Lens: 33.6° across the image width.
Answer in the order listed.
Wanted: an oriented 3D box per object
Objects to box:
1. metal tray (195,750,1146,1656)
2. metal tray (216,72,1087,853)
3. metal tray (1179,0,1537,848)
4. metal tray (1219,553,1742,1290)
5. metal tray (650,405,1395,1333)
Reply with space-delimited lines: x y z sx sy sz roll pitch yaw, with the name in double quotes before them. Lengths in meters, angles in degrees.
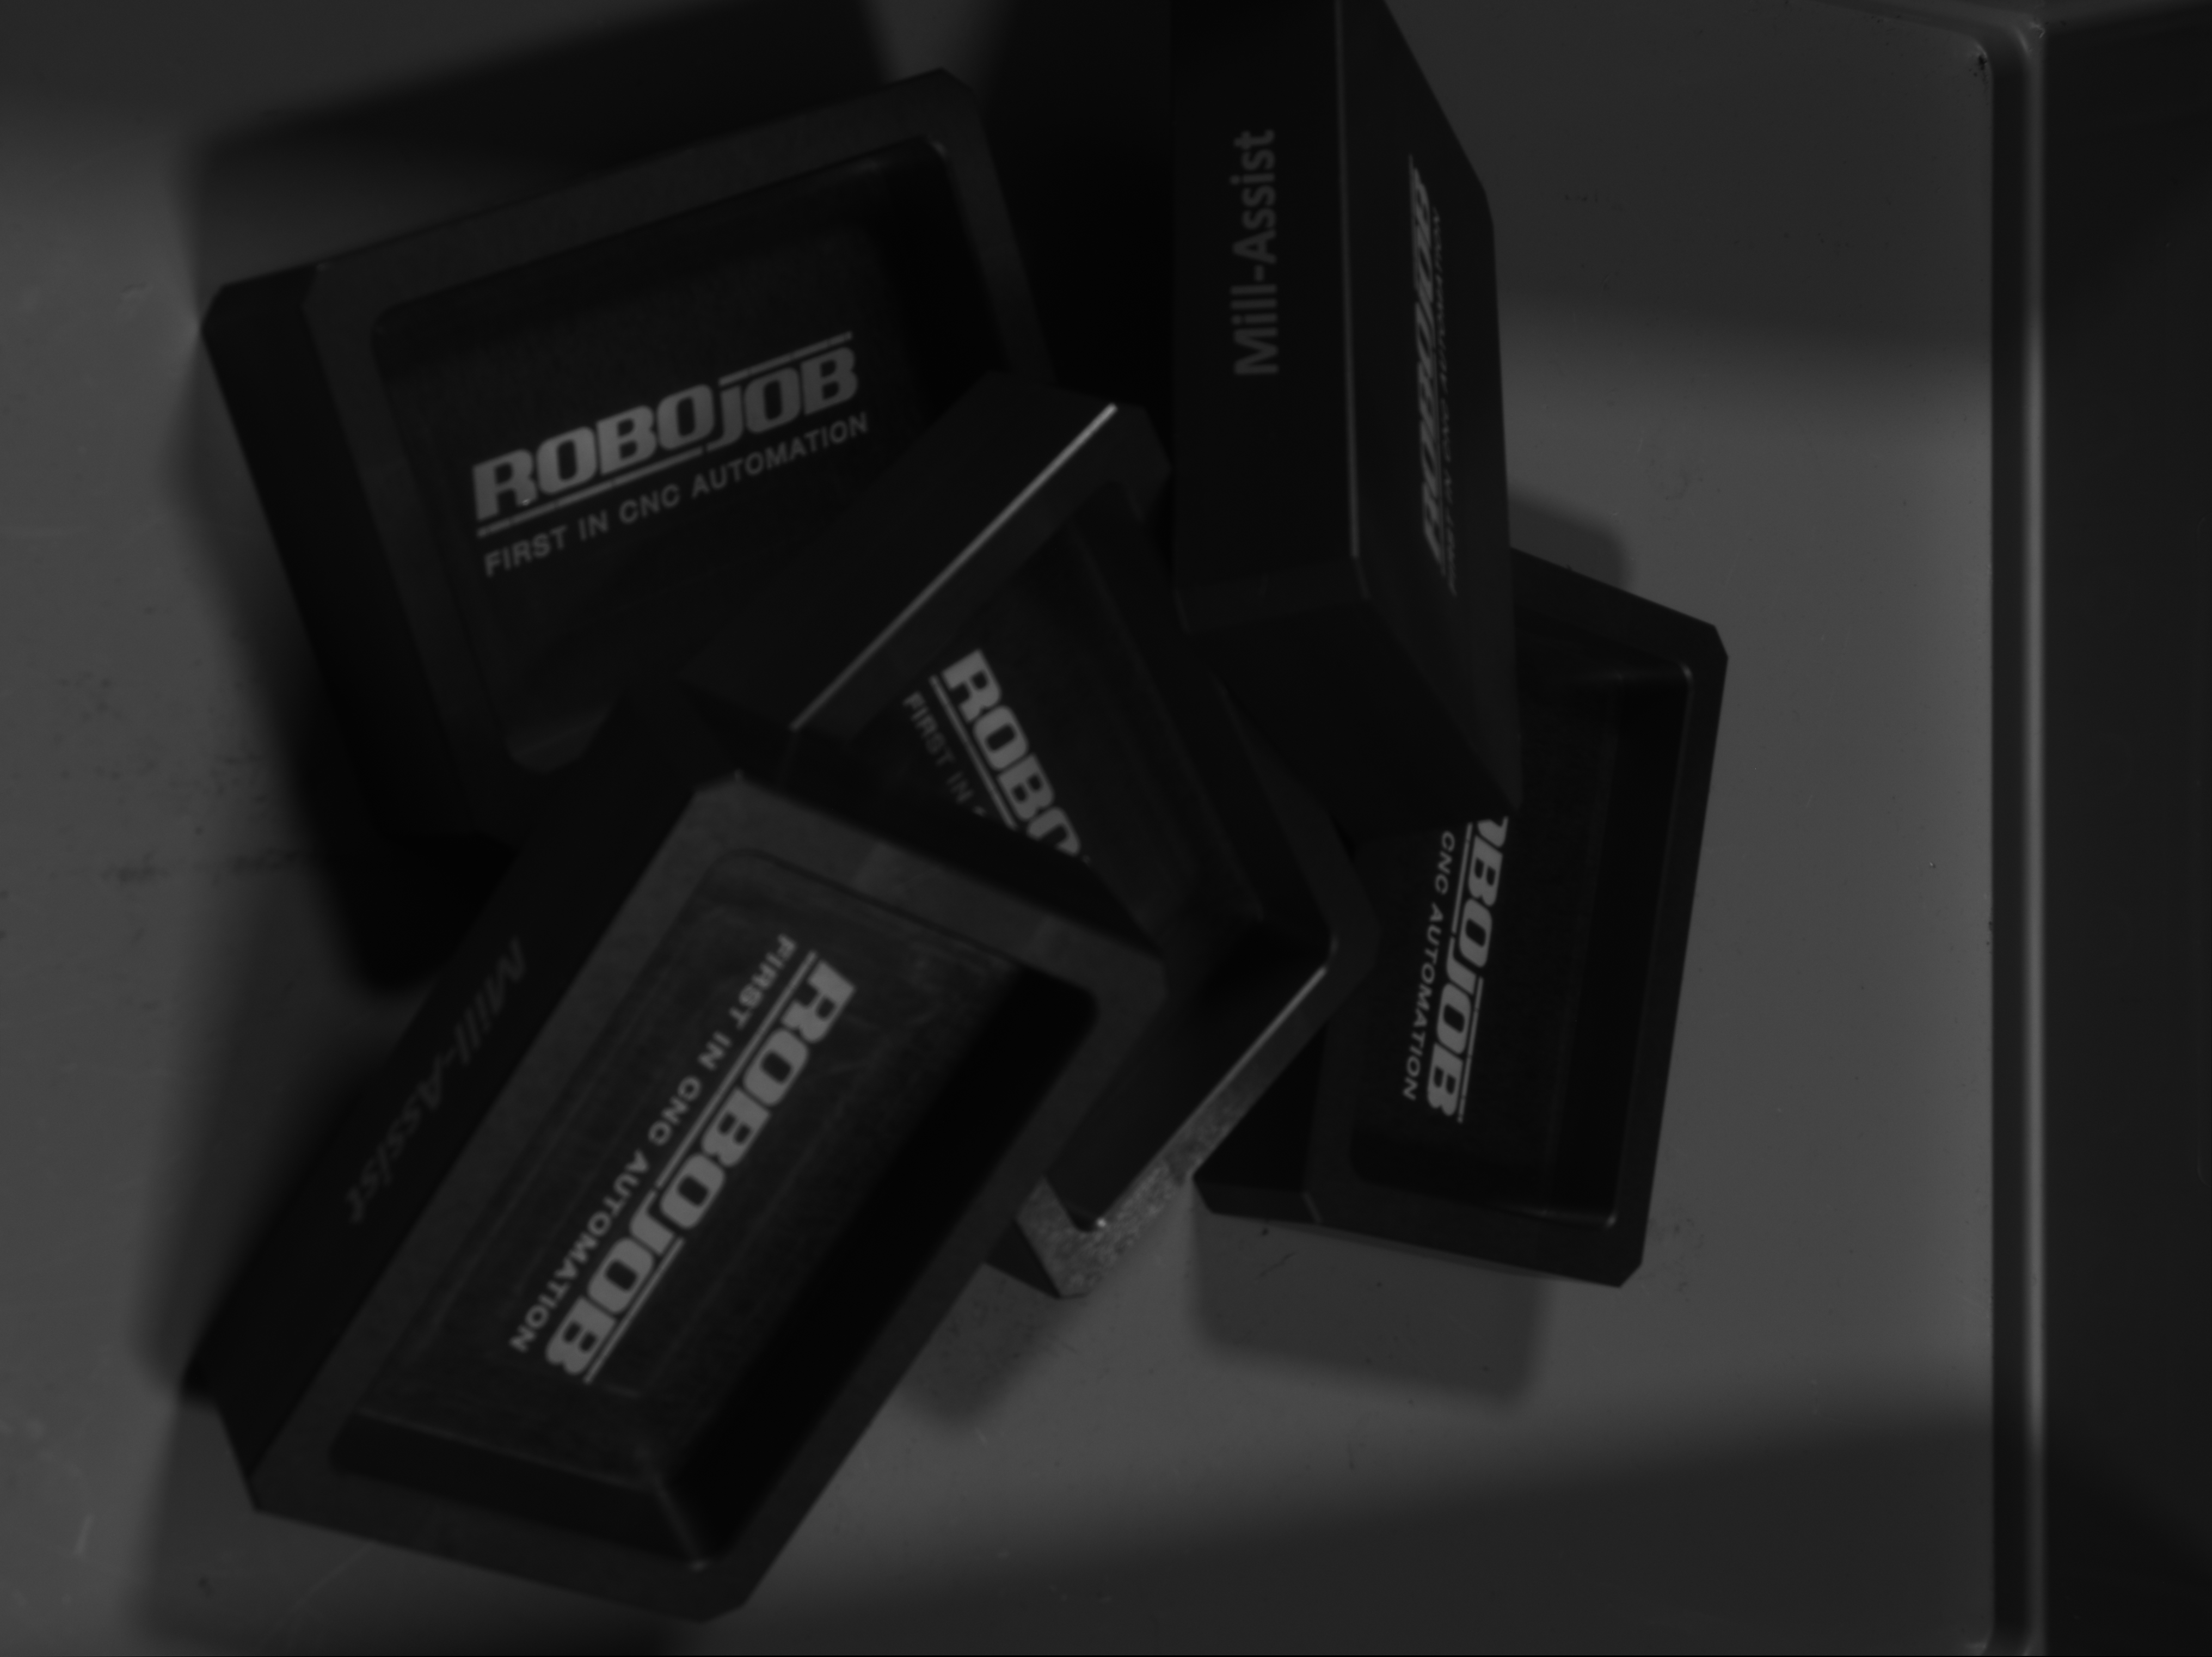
"metal tray" -0.064 0.062 0.541 0.090 0.030 0.130 22 104 -37
"metal tray" -0.065 -0.060 0.578 0.130 0.030 0.090 -26 106 -37
"metal tray" 0.043 -0.073 0.624 0.090 0.030 0.130 44 41 -56
"metal tray" 0.072 0.016 0.692 0.090 0.030 0.130 16 80 -39
"metal tray" -0.009 0.008 0.597 0.090 0.030 0.130 -47 133 -22
